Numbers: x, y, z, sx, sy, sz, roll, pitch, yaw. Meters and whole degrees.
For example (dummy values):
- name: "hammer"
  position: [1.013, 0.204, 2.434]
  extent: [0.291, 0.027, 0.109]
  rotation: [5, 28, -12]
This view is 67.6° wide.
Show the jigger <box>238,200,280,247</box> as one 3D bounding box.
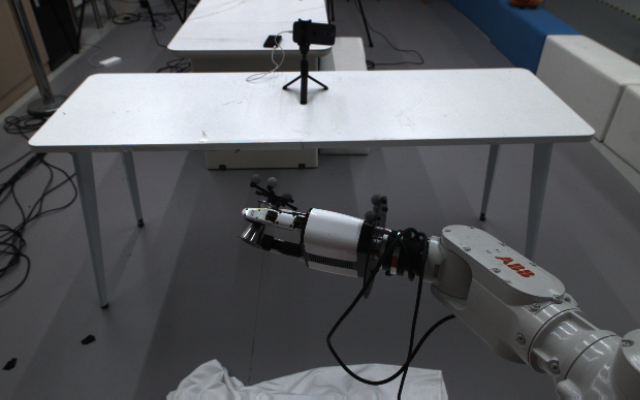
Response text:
- name: "jigger"
  position: [-0.098, 0.036, 0.772]
  extent: [0.043, 0.043, 0.071]
  rotation: [20, 74, 24]
